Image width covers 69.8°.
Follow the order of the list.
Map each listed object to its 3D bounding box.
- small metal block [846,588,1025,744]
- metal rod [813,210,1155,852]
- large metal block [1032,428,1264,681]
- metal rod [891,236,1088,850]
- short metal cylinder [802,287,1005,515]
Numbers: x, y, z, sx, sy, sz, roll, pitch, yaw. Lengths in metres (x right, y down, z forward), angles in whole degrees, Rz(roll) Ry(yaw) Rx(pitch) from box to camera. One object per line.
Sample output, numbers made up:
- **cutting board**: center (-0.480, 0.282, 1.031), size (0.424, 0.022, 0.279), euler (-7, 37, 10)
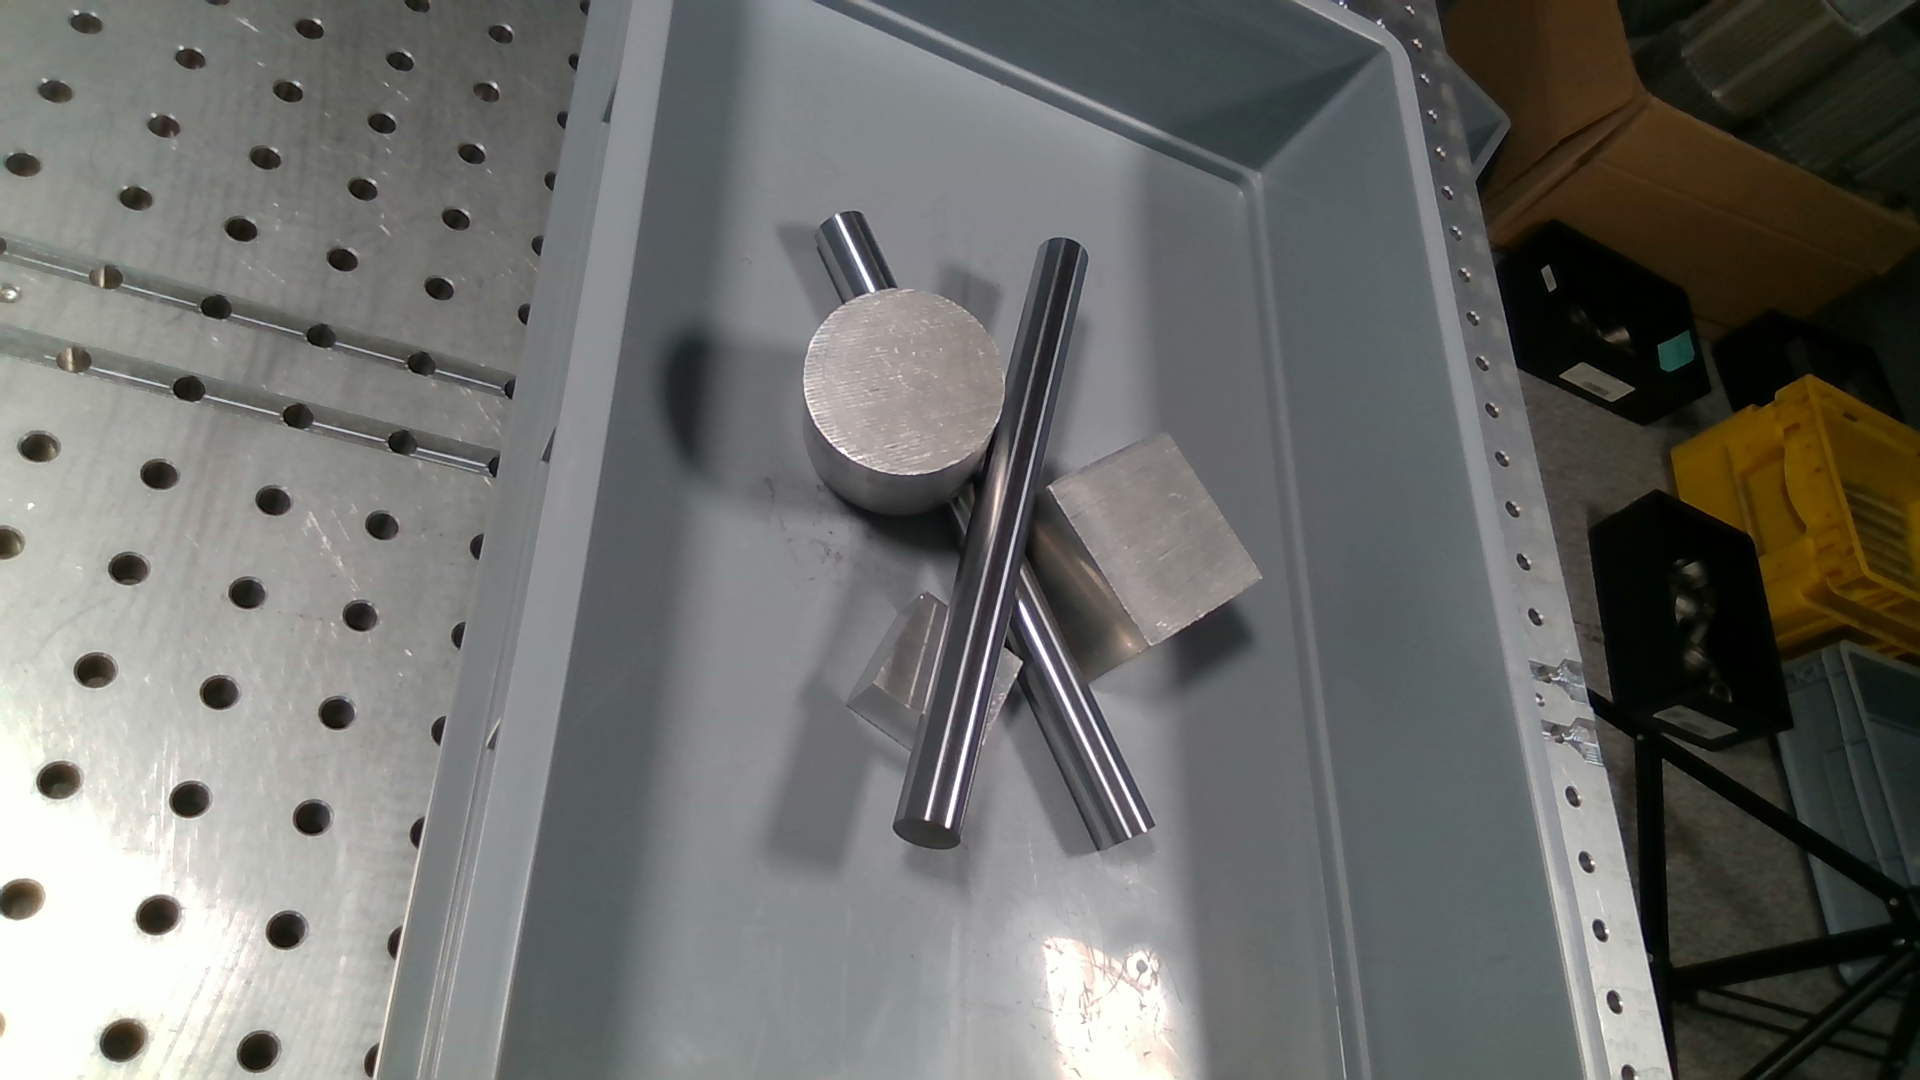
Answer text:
- **small metal block**: center (-0.009, 0.056, 0.547), size (0.050, 0.025, 0.050), euler (37, 52, -10)
- **metal rod**: center (0.007, -0.010, 0.594), size (0.025, 0.025, 0.299), euler (-16, 74, -36)
- **large metal block**: center (0.074, 0.007, 0.609), size (0.080, 0.050, 0.080), euler (-25, 80, -38)
- **metal rod**: center (0.018, -0.015, 0.572), size (0.025, 0.025, 0.299), euler (26, 54, -17)
- **short metal cylinder**: center (-0.025, -0.056, 0.565), size (0.080, 0.050, 0.080), euler (2, 73, -6)
